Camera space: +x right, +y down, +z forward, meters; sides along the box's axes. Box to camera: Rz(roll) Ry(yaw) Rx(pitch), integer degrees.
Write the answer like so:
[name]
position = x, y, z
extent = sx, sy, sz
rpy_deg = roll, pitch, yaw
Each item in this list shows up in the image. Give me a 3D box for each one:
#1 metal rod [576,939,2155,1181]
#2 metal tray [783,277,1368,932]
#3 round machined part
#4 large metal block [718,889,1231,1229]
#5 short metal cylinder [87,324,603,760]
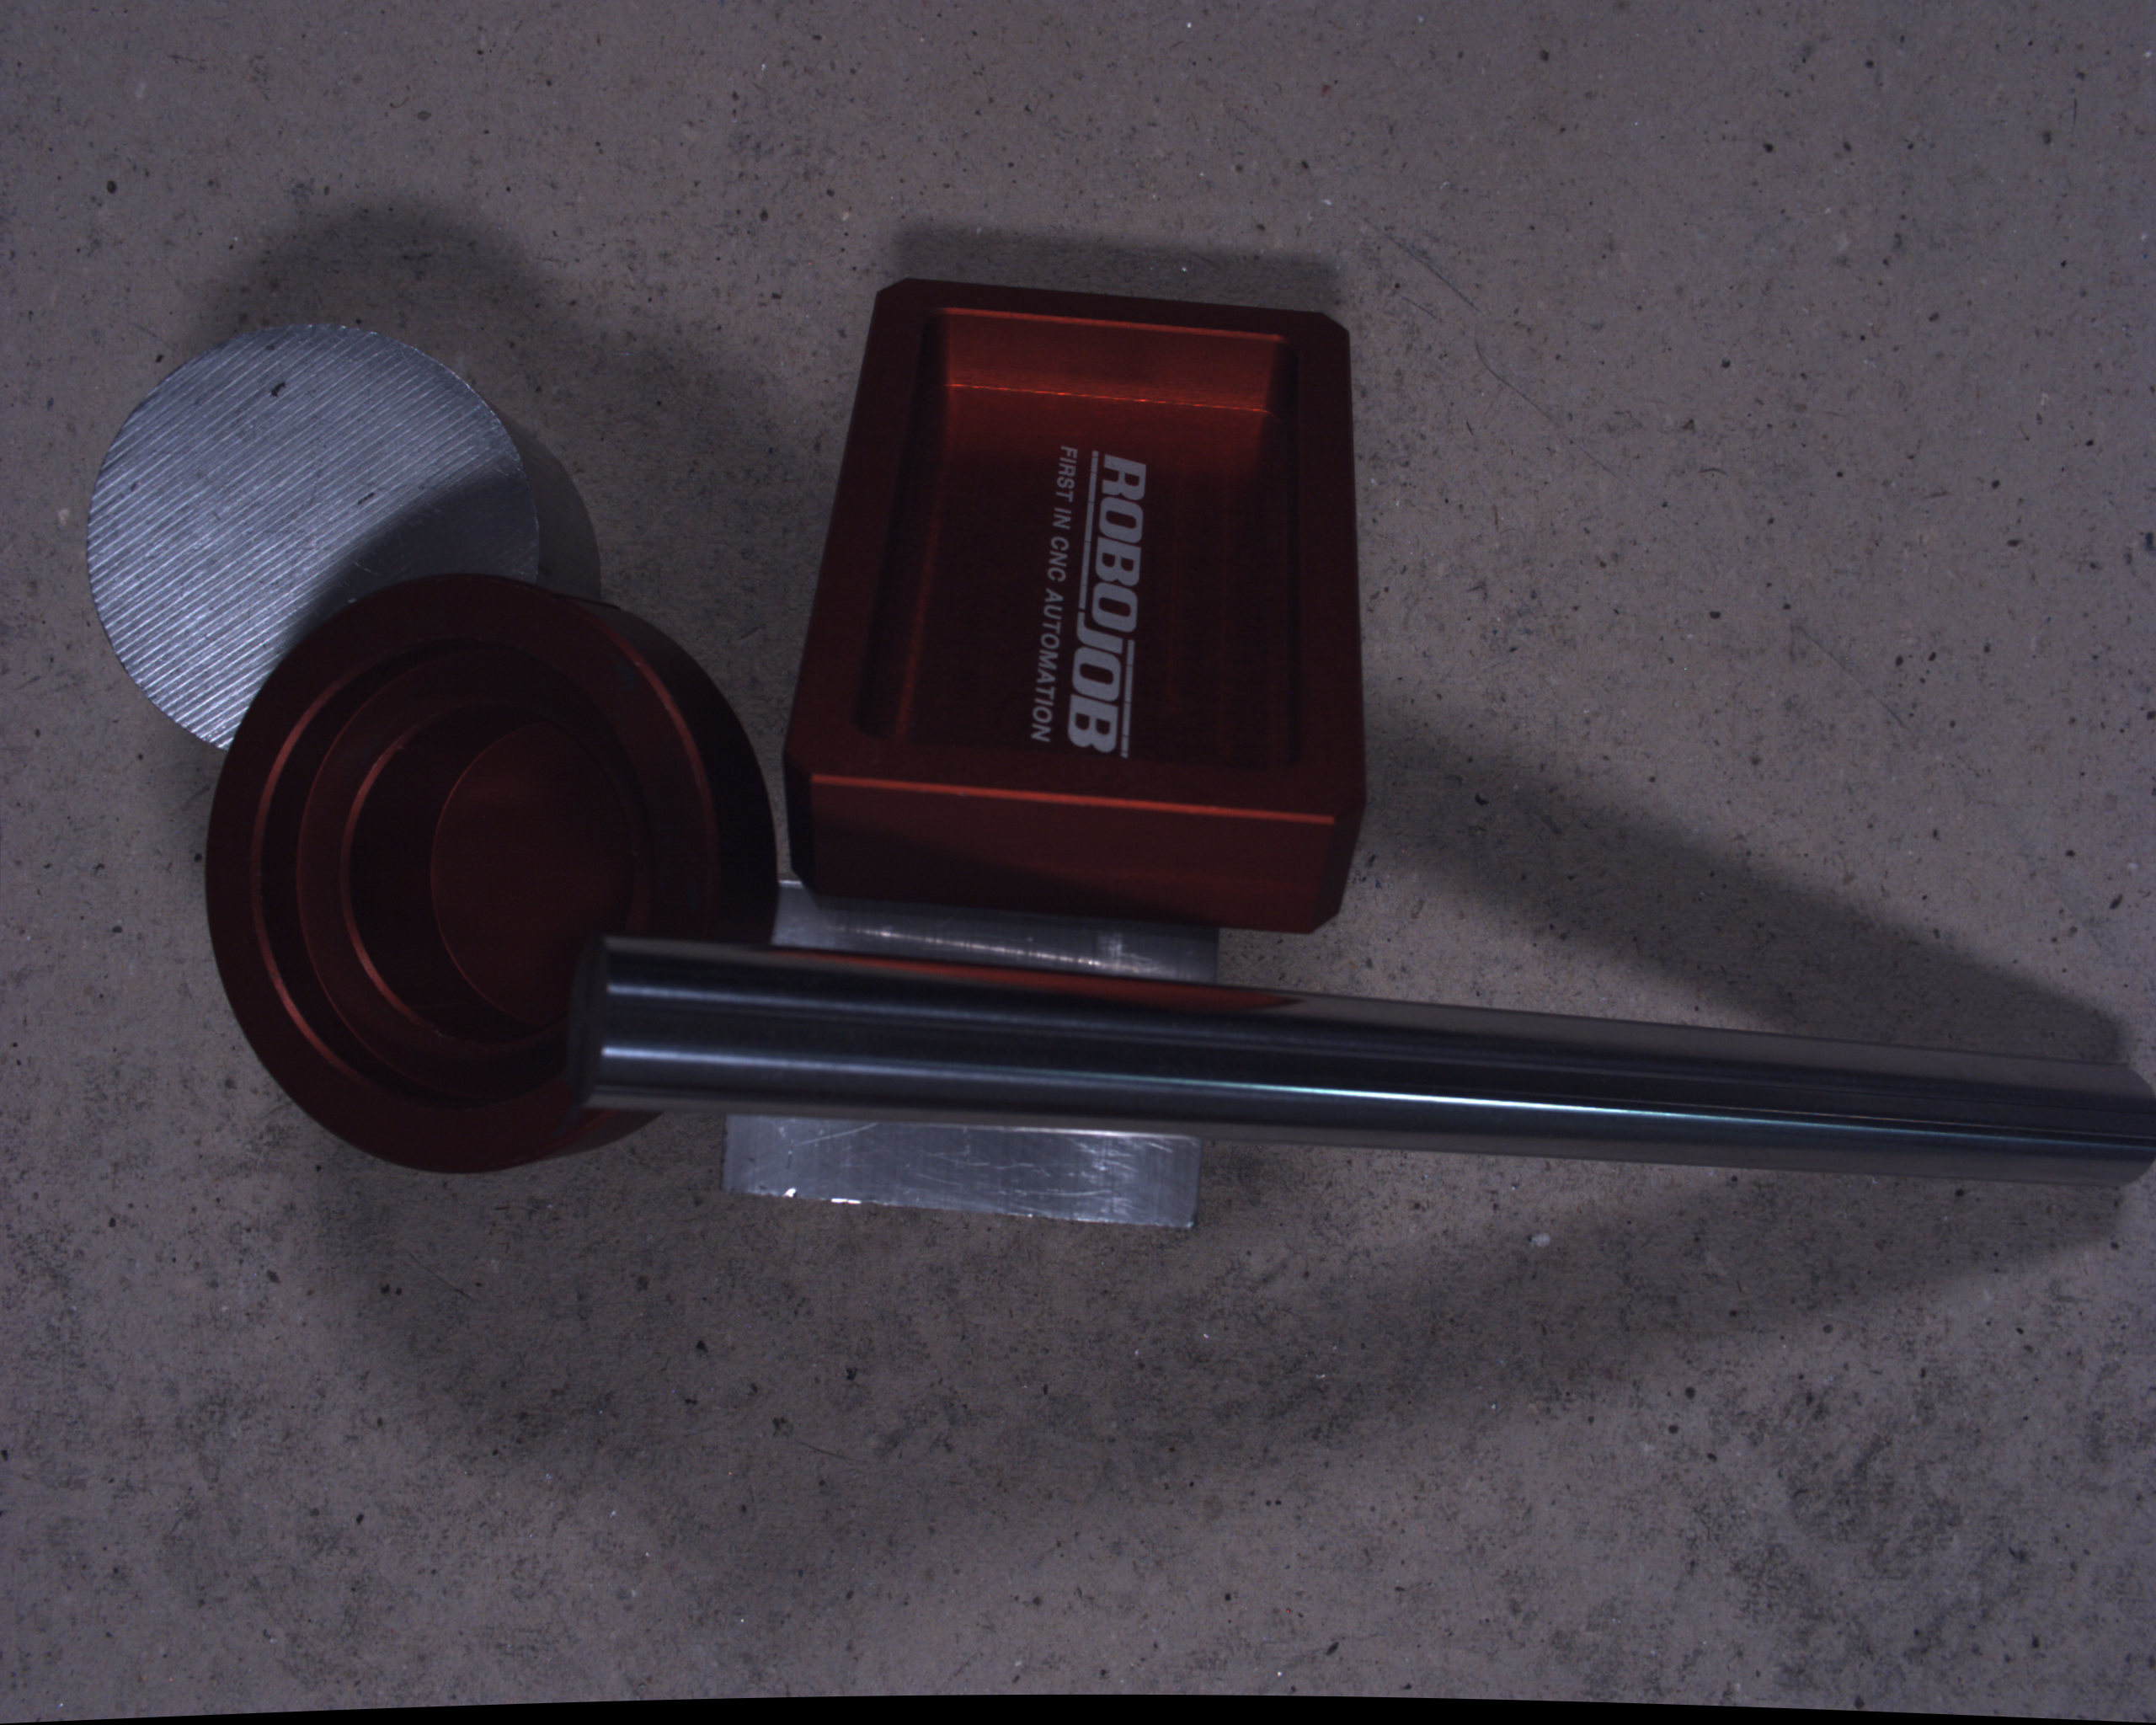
[metal rod]
position = 0.070, 0.037, 0.353
extent = 0.302, 0.025, 0.025
rpy_deg = 6, 90, -25
[metal tray]
position = 0.003, -0.051, 0.371
extent = 0.091, 0.030, 0.130
rpy_deg = 5, 50, 0
[round machined part]
position = -0.095, 0.002, 0.357
extent = 0.098, 0.042, 0.097
rpy_deg = 0, 89, 19
[large metal block]
position = -0.017, 0.032, 0.383
extent = 0.081, 0.080, 0.050
rpy_deg = 5, 90, -1
[short metal cylinder]
position = -0.136, -0.056, 0.397
extent = 0.081, 0.050, 0.079
rpy_deg = 0, 90, -1
